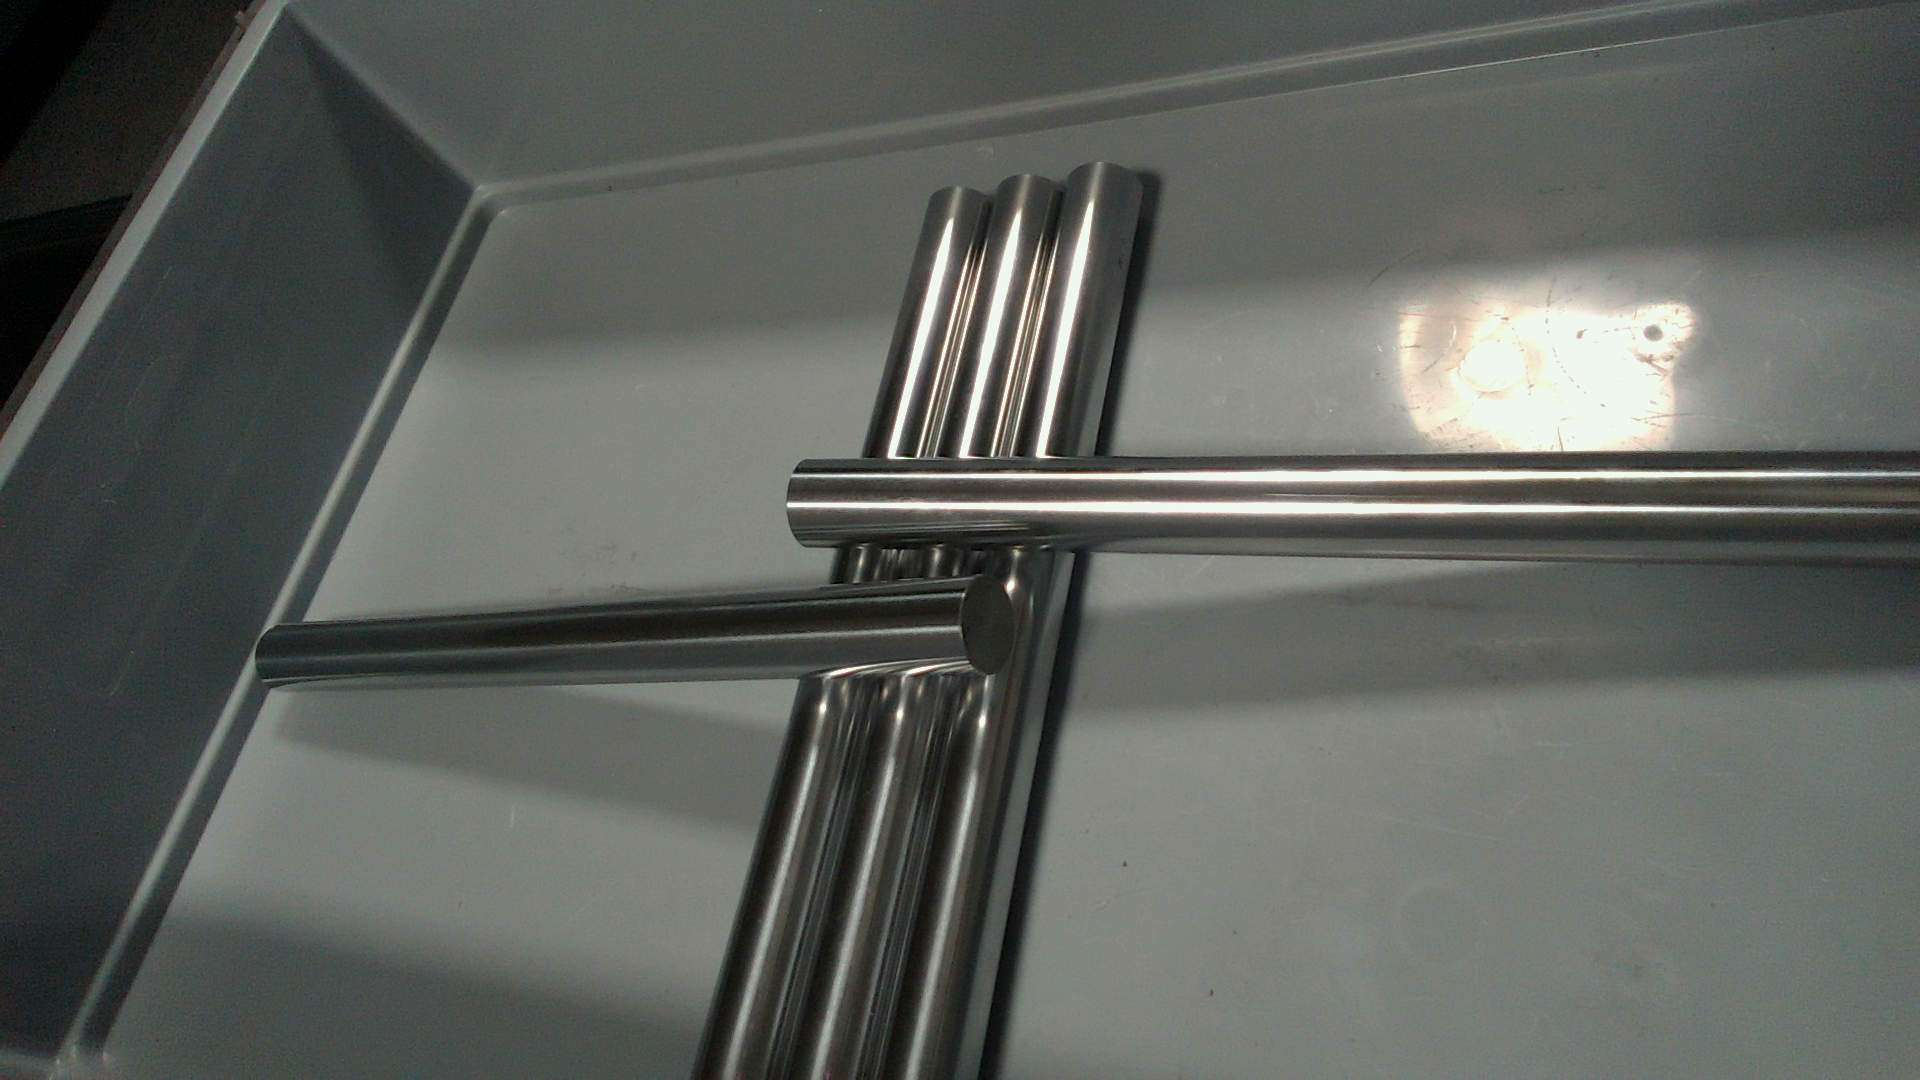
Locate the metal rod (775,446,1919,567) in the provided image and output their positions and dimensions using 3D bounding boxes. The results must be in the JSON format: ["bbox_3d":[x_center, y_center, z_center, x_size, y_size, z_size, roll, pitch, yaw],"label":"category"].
[{"bbox_3d":[0.094,-0.009,0.325,0.299,0.025,0.025,1,62,22],"label":"metal rod"}]

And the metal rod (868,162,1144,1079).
[{"bbox_3d":[0.016,0.021,0.372,0.025,0.025,0.300,-2,61,28],"label":"metal rod"}]

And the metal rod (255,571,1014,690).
[{"bbox_3d":[-0.118,0.031,0.417,0.299,0.025,0.025,-5,59,33],"label":"metal rod"}]

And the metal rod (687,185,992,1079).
[{"bbox_3d":[-0.029,0.022,0.395,0.025,0.025,0.300,-2,61,28],"label":"metal rod"}]

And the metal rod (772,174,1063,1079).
[{"bbox_3d":[-0.007,0.021,0.384,0.025,0.025,0.300,-2,61,28],"label":"metal rod"}]
